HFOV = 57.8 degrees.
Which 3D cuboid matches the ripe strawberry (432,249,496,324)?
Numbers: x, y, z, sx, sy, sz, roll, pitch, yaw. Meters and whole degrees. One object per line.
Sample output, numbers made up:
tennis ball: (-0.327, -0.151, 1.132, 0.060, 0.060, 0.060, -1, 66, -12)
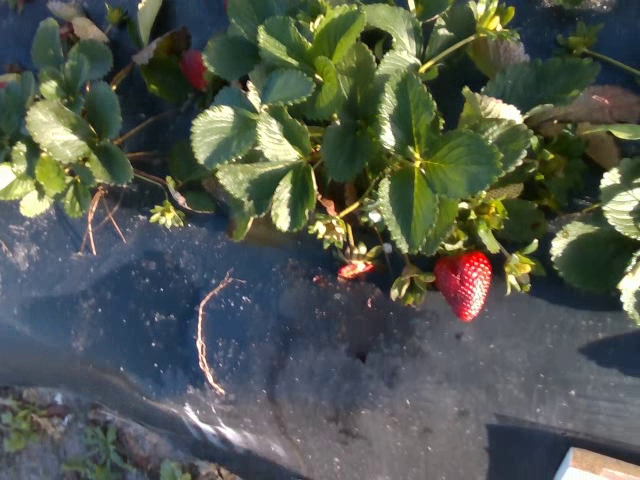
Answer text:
ripe strawberry: (0.110, 0.040, 0.433, 0.052, 0.052, 0.041, -14, -29, 31)
